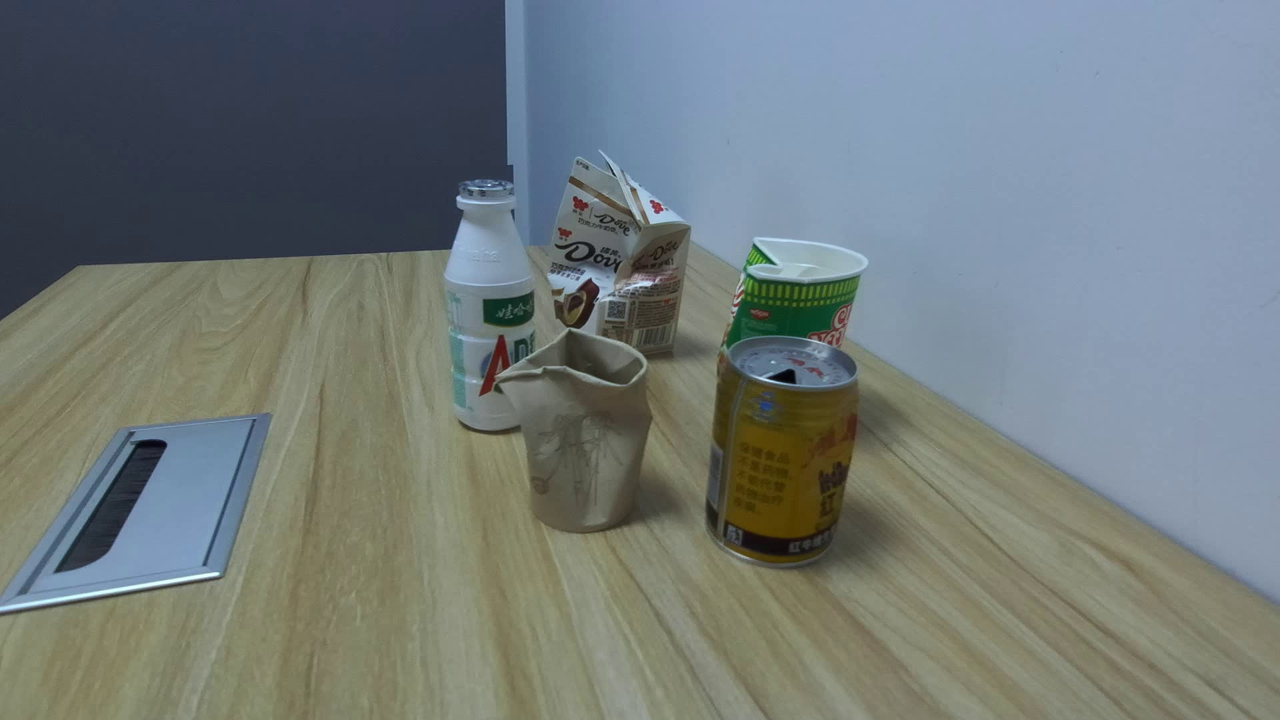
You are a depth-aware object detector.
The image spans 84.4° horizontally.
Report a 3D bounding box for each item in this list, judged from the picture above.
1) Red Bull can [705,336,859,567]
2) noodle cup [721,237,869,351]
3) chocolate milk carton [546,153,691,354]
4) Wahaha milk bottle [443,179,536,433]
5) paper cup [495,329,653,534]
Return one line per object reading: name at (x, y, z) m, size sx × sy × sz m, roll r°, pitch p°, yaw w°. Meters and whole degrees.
Red Bull can at (0.067, 0.042, 0.339) m, size 0.068 × 0.093 × 0.068 m, roll 3°, pitch 22°, yaw -1°
noodle cup at (0.089, -0.012, 0.442) m, size 0.086 × 0.109 × 0.094 m, roll 15°, pitch 27°, yaw 29°
chocolate milk carton at (-0.017, -0.075, 0.540) m, size 0.077 × 0.155 × 0.089 m, roll -15°, pitch 42°, yaw -27°
Wahaha milk bottle at (-0.089, -0.031, 0.427) m, size 0.053 × 0.147 × 0.053 m, roll 2°, pitch 21°, yaw -1°
paper cup at (-0.031, 0.037, 0.352) m, size 0.066 × 0.083 × 0.058 m, roll 19°, pitch 30°, yaw 40°
